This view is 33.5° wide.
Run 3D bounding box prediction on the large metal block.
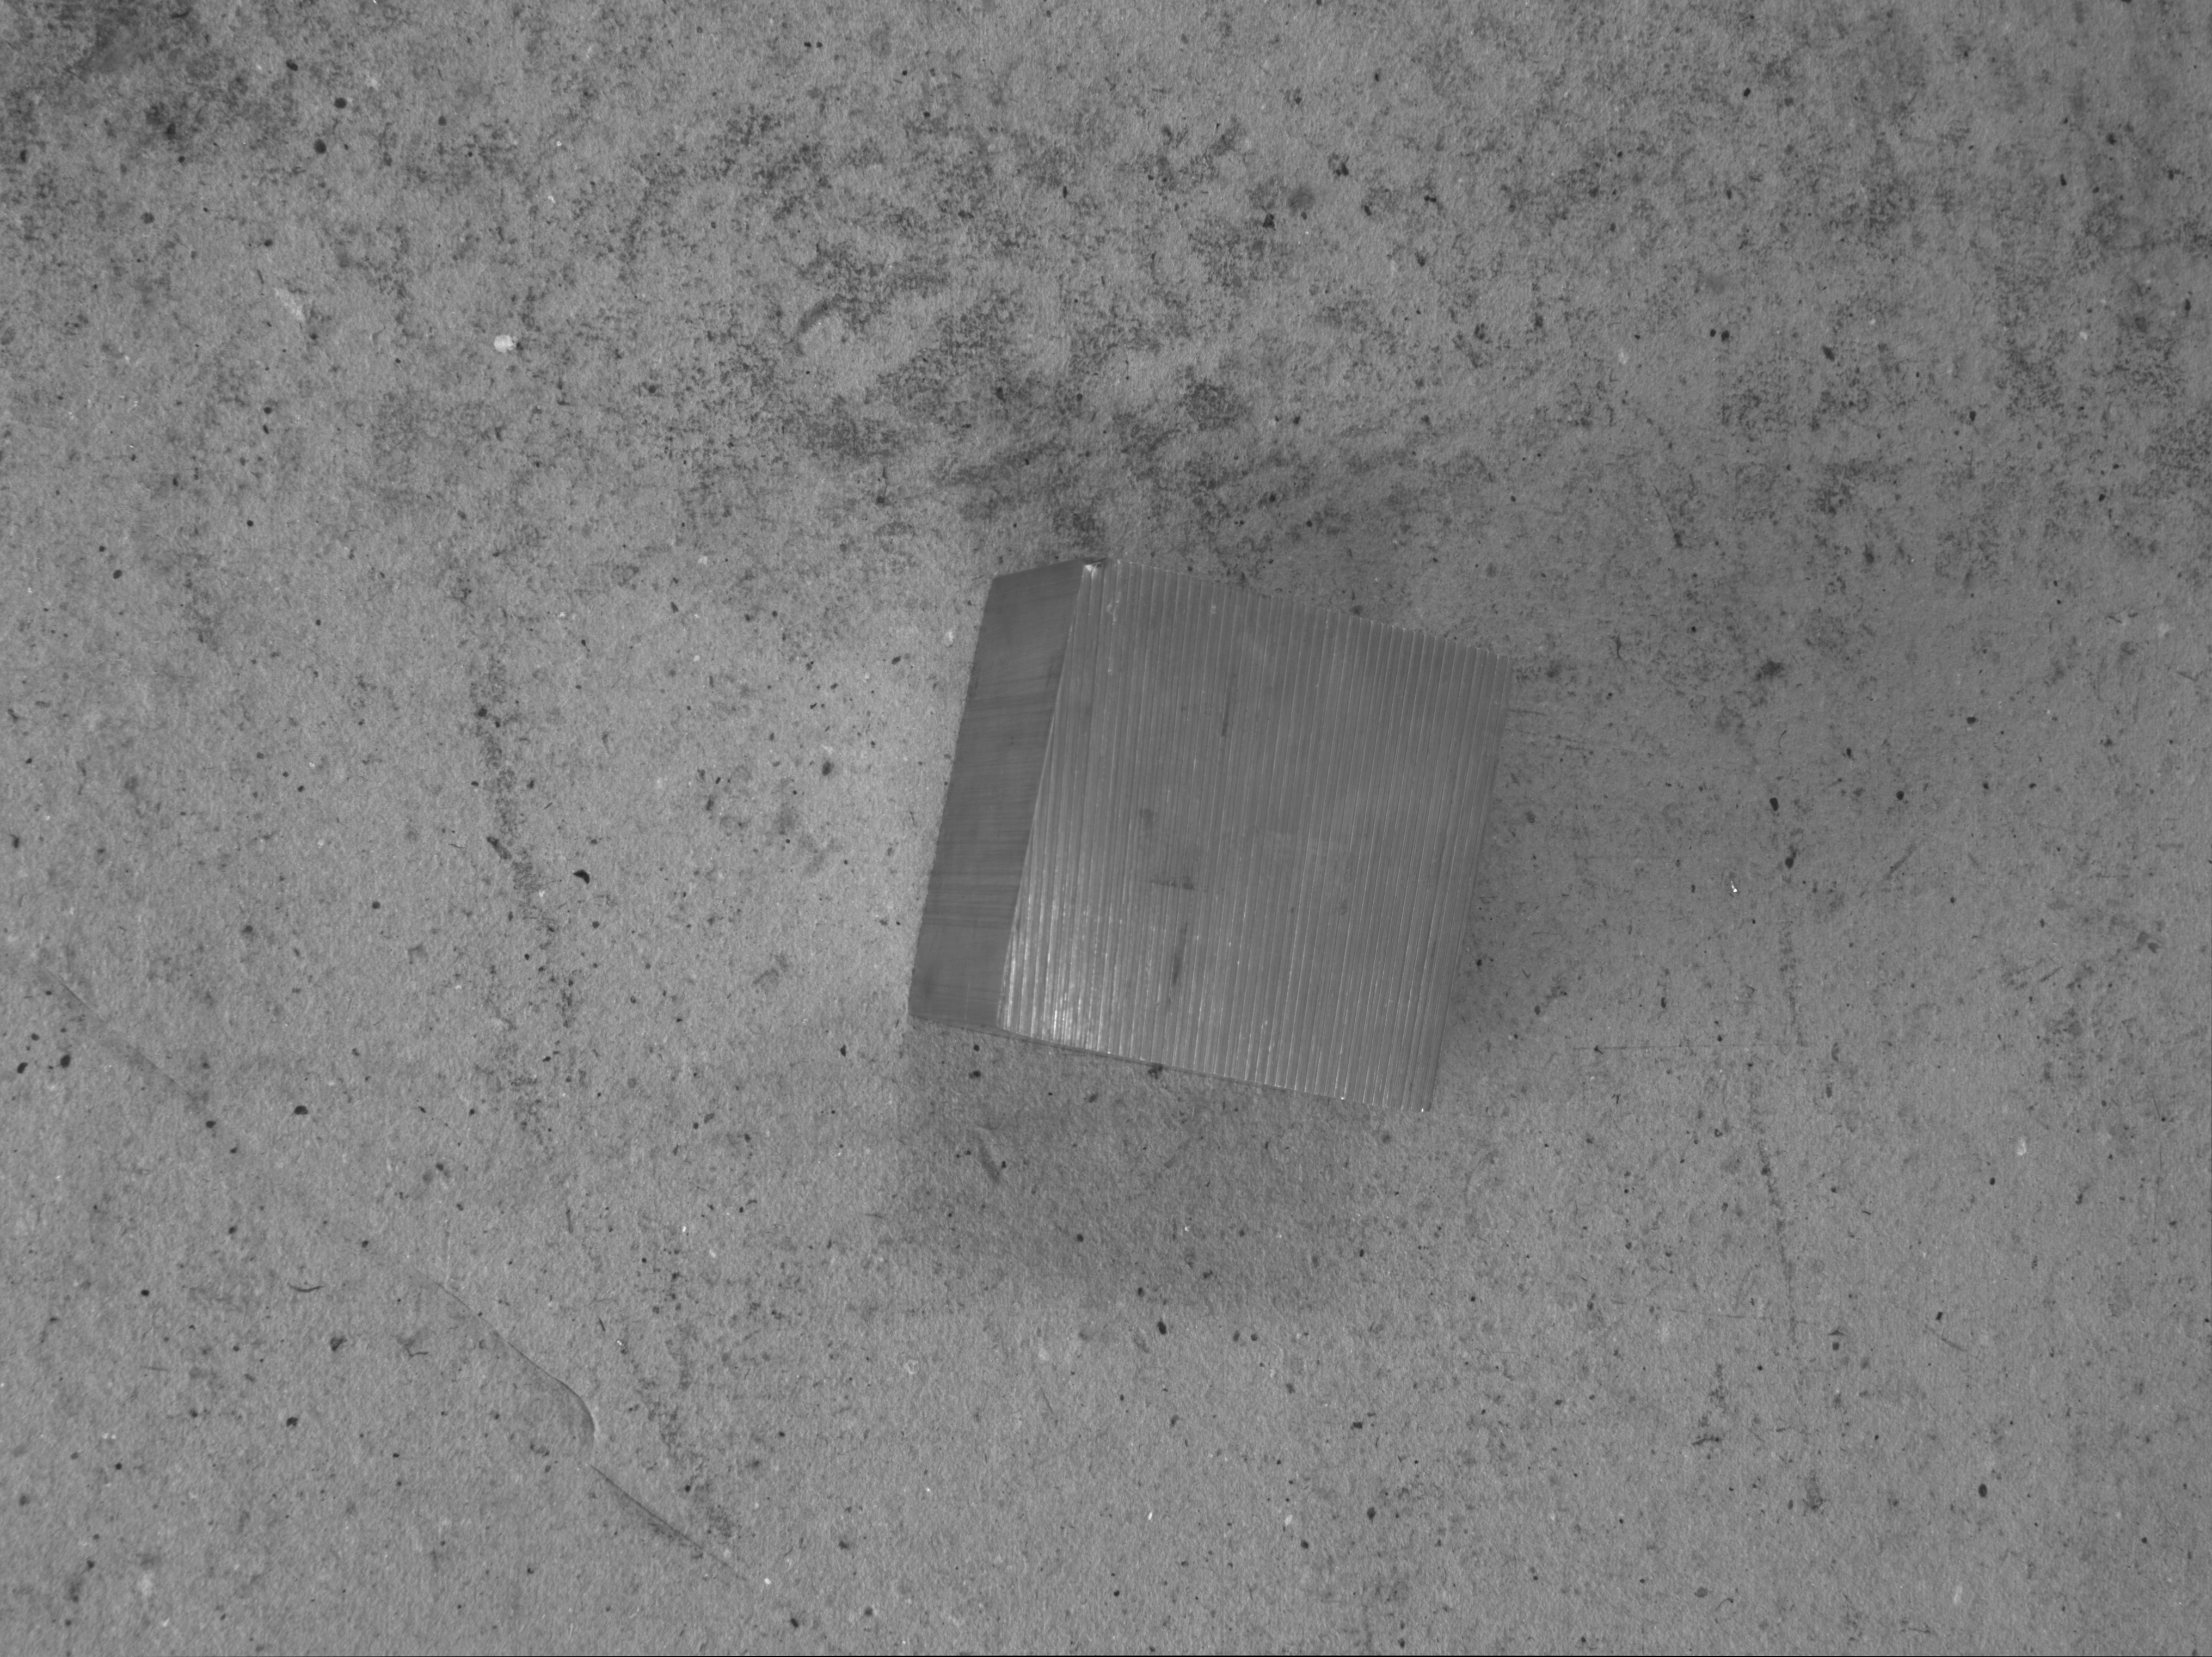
[{"bbox_3d":[0.017,0.002,0.636,0.080,0.050,0.080,12,86,-20],"label":"large metal block"}]
